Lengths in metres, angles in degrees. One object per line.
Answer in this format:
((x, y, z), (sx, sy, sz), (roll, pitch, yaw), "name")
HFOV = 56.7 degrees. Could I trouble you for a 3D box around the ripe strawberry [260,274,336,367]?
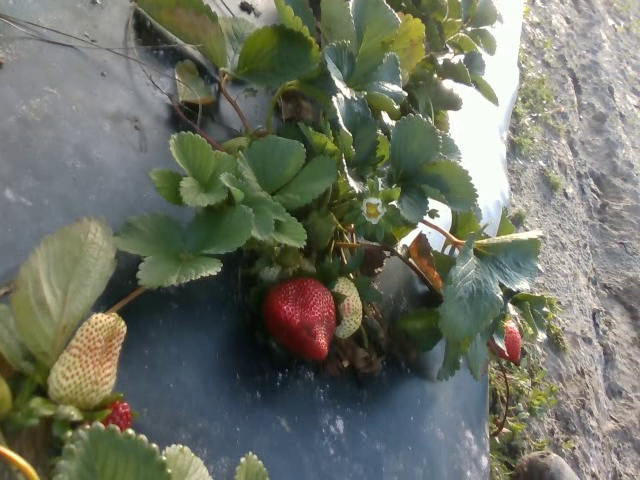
((-0.011, 0.053, 0.381), (0.057, 0.058, 0.070), (-6, 1, -2), "ripe strawberry")
